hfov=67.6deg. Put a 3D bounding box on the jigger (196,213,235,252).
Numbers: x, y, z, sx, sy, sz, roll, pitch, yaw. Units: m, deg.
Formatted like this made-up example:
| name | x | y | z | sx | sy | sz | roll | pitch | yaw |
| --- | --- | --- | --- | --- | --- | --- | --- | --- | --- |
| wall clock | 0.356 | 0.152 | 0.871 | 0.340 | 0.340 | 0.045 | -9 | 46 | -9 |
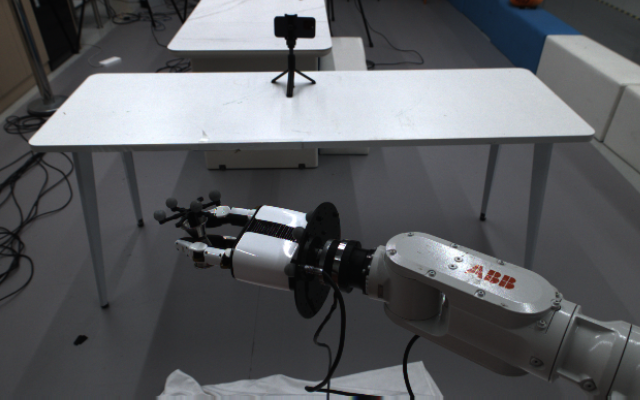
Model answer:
| name | x | y | z | sx | sy | sz | roll | pitch | yaw |
| --- | --- | --- | --- | --- | --- | --- | --- | --- | --- |
| jigger | -0.174 | 0.062 | 0.716 | 0.043 | 0.071 | 0.043 | -12 | 25 | 5 |
